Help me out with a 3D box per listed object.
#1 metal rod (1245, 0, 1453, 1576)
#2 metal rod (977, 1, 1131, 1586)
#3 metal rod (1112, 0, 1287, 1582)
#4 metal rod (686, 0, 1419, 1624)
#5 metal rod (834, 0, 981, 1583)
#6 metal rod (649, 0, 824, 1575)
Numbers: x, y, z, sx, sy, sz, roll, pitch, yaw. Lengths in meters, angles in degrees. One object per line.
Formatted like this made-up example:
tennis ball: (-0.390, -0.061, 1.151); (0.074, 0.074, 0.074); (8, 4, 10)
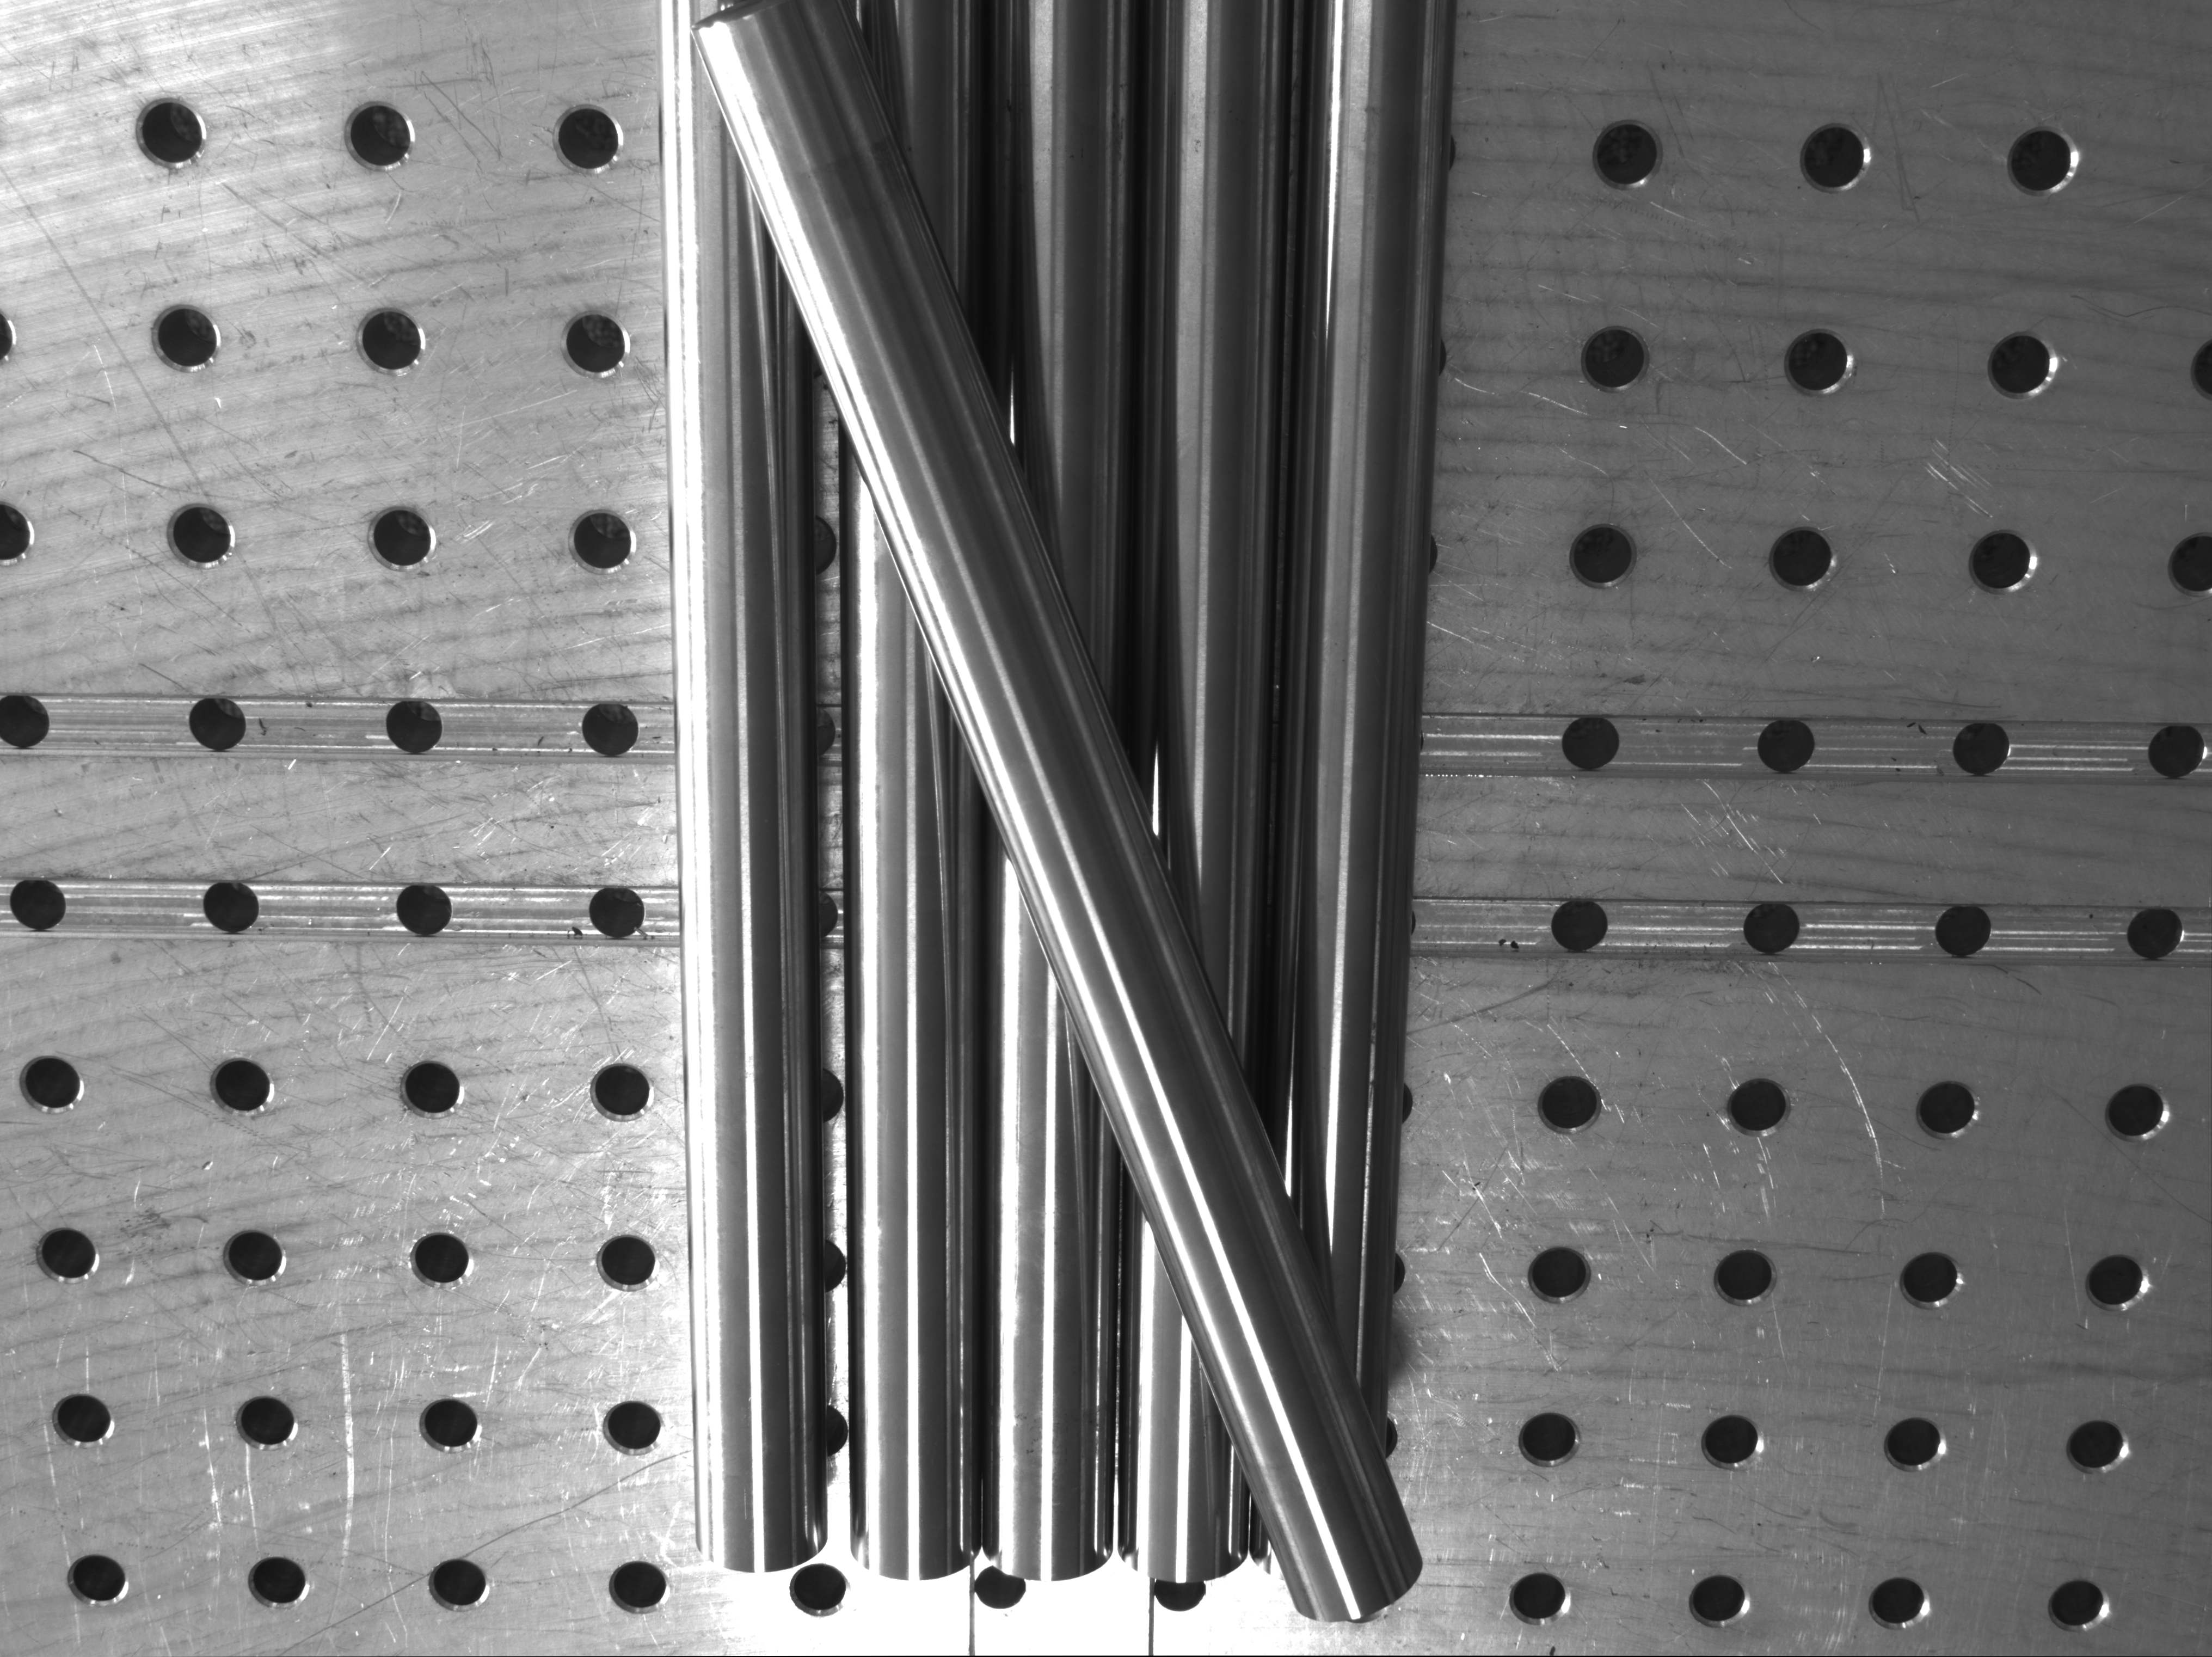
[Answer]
metal rod: (0.041, -0.004, 0.646); (0.025, 0.025, 0.300); (1, 110, 0)
metal rod: (-0.010, -0.004, 0.644); (0.025, 0.025, 0.300); (1, 110, 0)
metal rod: (0.015, -0.005, 0.646); (0.025, 0.025, 0.300); (1, 110, 0)
metal rod: (-0.004, 0.004, 0.622); (0.025, 0.025, 0.300); (-18, 109, 7)
metal rod: (-0.034, -0.005, 0.644); (0.025, 0.025, 0.300); (1, 110, 0)
metal rod: (-0.064, -0.006, 0.643); (0.025, 0.025, 0.300); (1, 110, 0)
